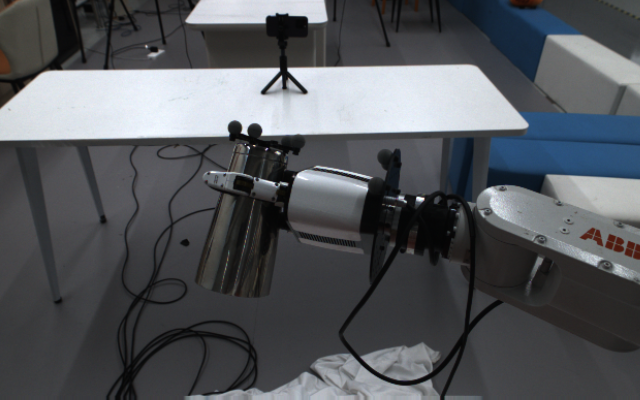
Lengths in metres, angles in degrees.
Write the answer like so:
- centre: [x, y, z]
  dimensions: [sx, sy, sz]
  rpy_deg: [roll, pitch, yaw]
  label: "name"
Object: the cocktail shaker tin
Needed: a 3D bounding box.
- centre: [-0.084, 0.020, 0.586]
  dimensions: [0.093, 0.170, 0.093]
  rpy_deg: [13, 1, 0]
  label: "cocktail shaker tin"
